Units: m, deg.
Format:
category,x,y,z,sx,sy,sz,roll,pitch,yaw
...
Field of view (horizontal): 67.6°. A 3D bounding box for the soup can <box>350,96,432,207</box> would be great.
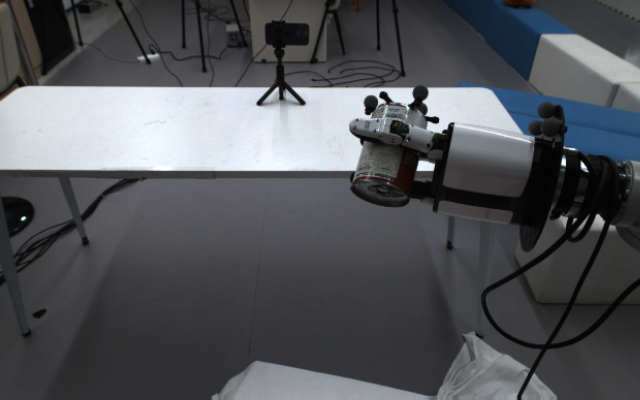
category,x,y,z,sx,sy,sz,roll,pitch,yaw
soup can,0.080,-0.054,0.557,0.067,0.067,0.101,12,70,14
